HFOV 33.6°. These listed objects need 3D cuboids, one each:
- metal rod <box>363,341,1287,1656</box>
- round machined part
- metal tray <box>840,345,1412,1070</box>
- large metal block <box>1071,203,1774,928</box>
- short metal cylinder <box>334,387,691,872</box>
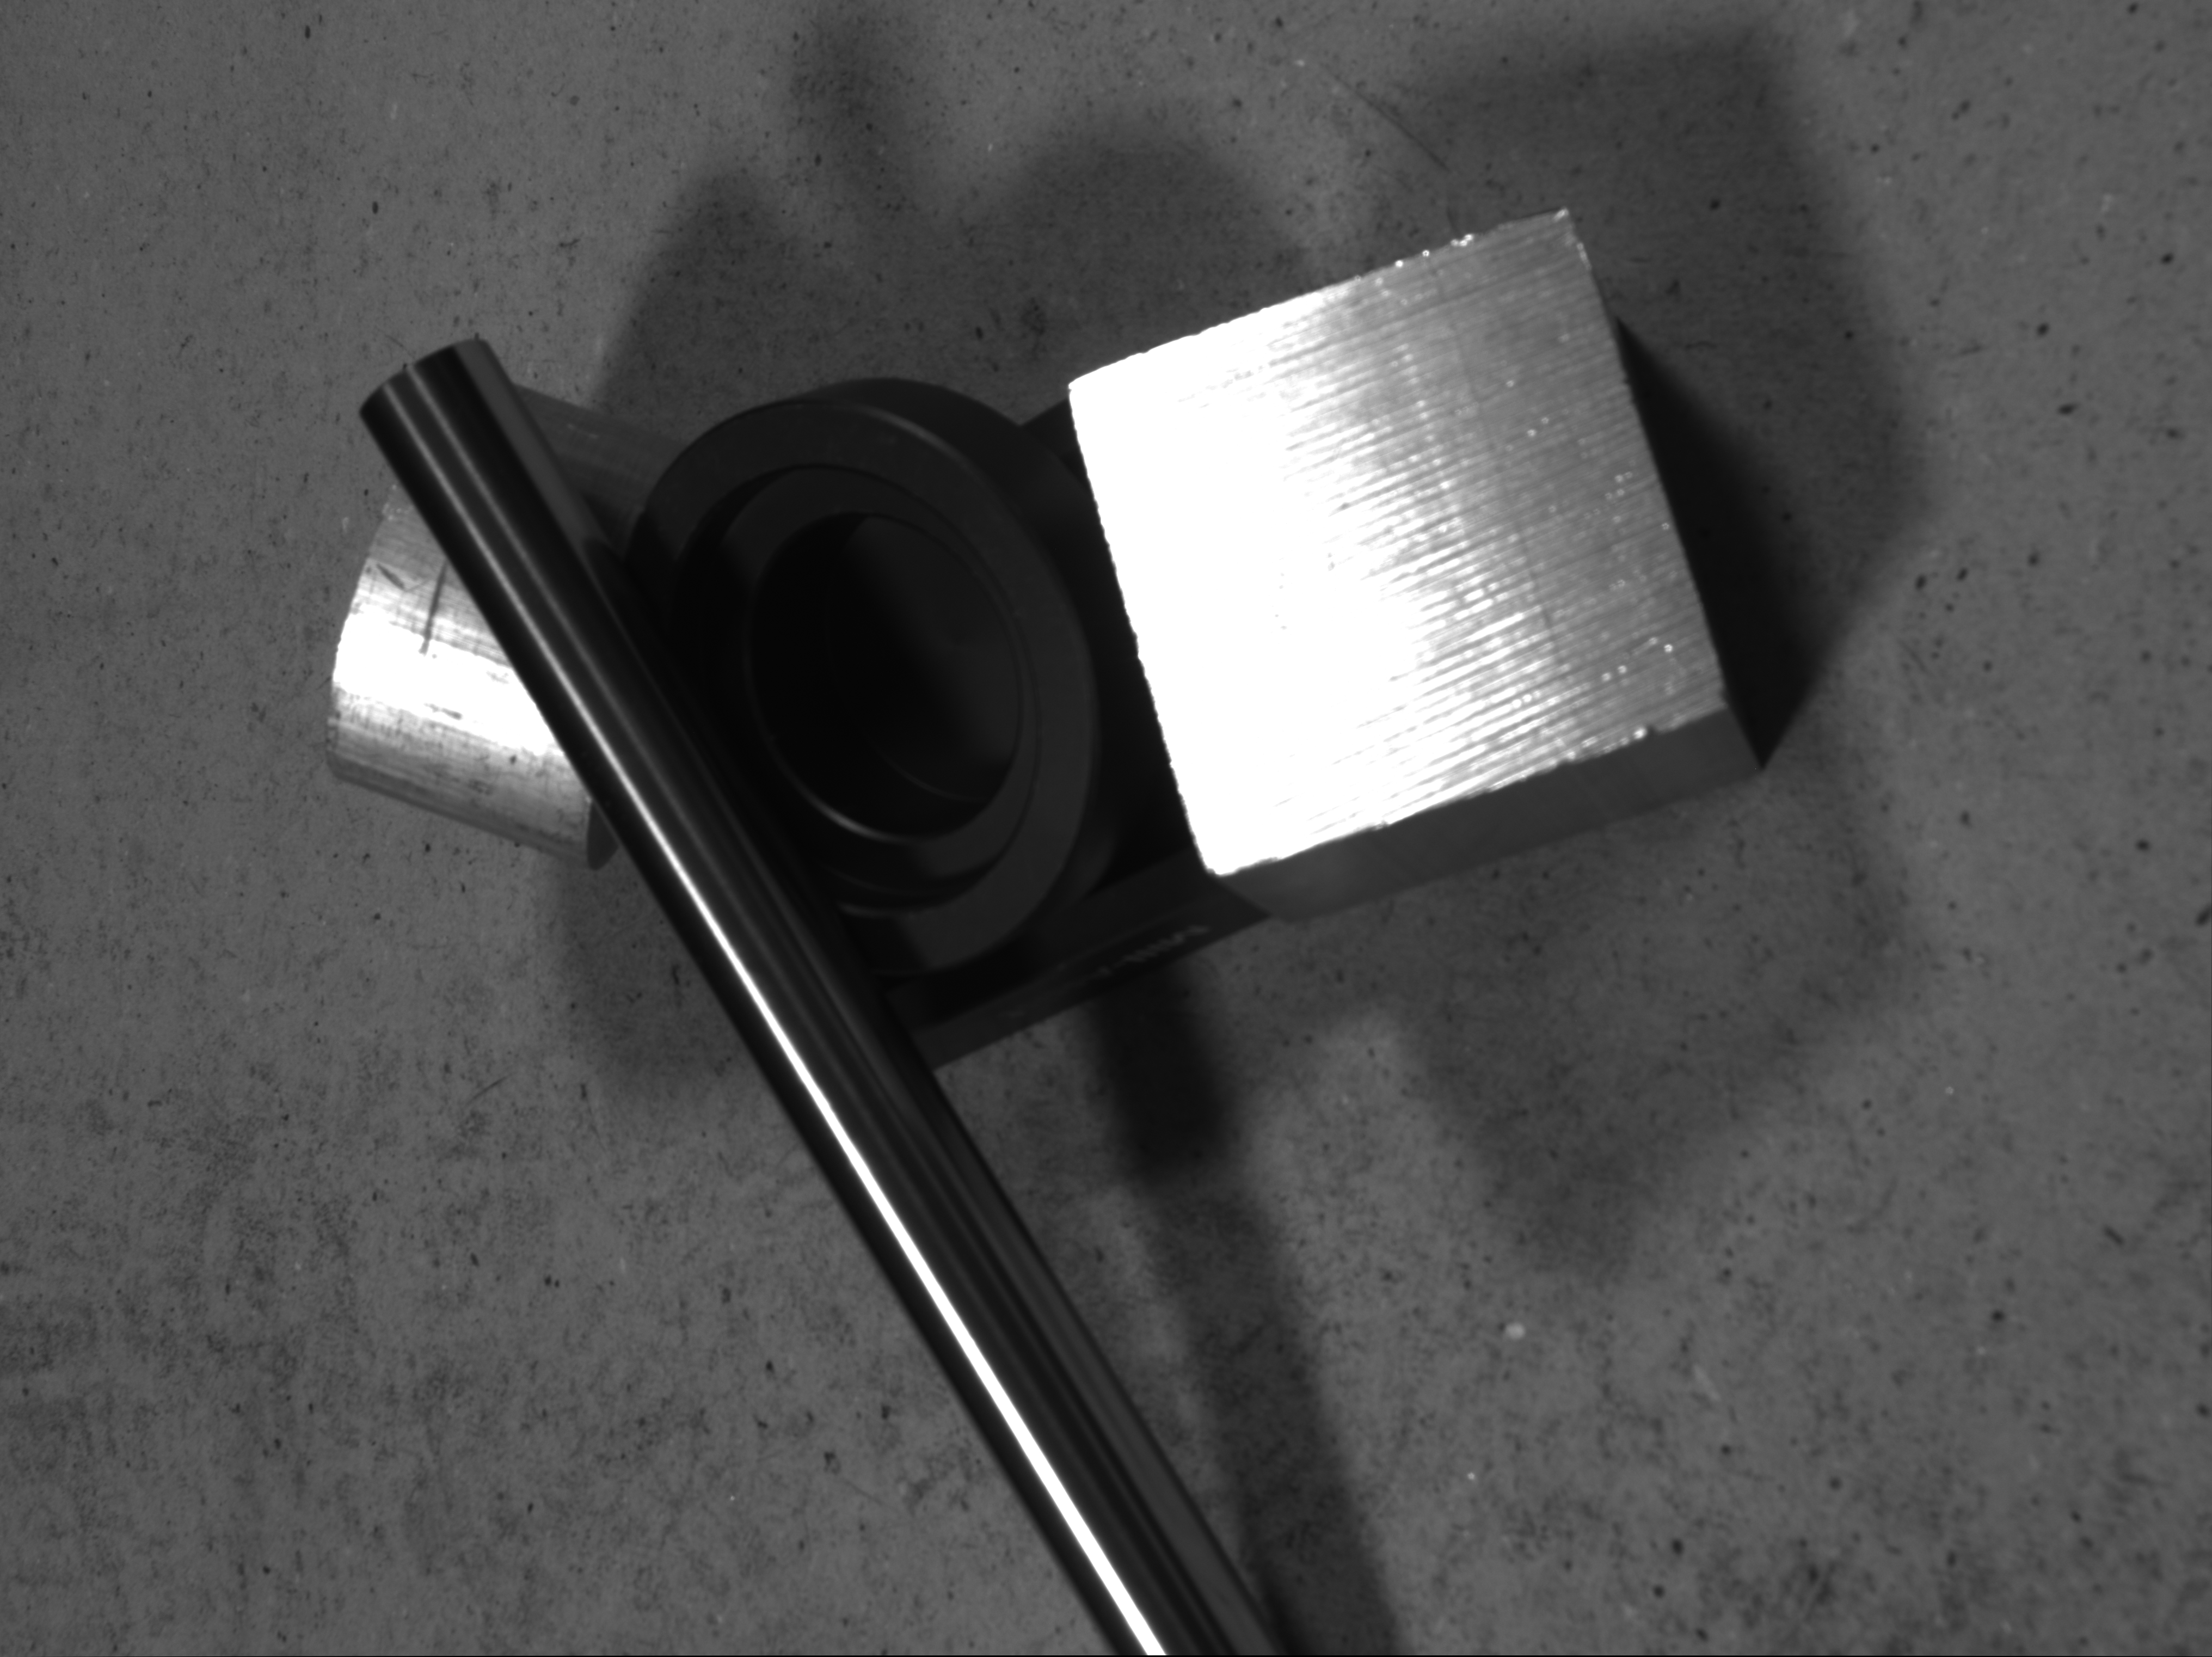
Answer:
[{"bbox_3d":[-0.036,0.053,0.609,0.025,0.025,0.300,-33,87,34],"label":"metal rod"},{"bbox_3d":[-0.031,-0.028,0.620,0.098,0.042,0.098,11,111,32],"label":"round machined part"},{"bbox_3d":[-0.012,-0.017,0.643,0.130,0.030,0.090,-26,74,36],"label":"metal tray"},{"bbox_3d":[0.049,-0.038,0.559,0.080,0.050,0.080,-19,77,11],"label":"large metal block"},{"bbox_3d":[-0.103,-0.038,0.677,0.050,0.080,0.080,19,105,1],"label":"short metal cylinder"}]
